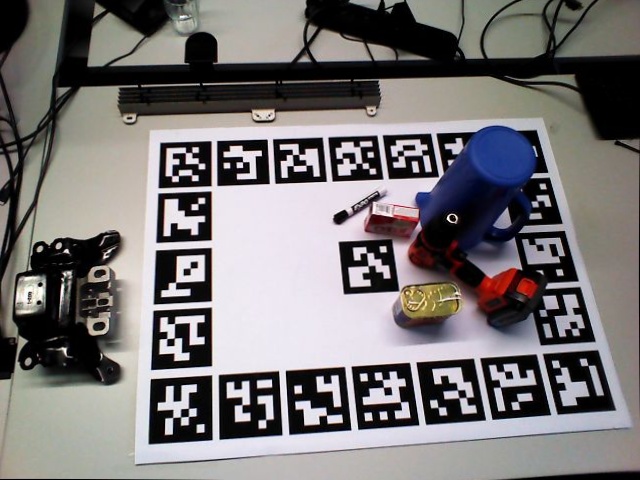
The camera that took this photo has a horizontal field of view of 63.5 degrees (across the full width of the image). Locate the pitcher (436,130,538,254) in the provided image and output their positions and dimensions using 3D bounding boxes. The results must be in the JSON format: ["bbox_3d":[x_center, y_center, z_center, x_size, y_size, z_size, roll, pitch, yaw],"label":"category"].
[{"bbox_3d":[0.296,-0.072,0.877,0.189,0.243,0.132,26,73,13],"label":"pitcher"}]

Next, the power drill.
[{"bbox_3d":[0.253,0.034,0.858,0.187,0.185,0.057,32,73,2],"label":"power drill"}]

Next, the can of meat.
[{"bbox_3d":[0.186,0.113,0.873,0.102,0.084,0.057,-3,67,-5],"label":"can of meat"}]

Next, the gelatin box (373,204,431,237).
[{"bbox_3d":[0.147,-0.034,0.937,0.089,0.073,0.030,8,72,-2],"label":"gelatin box"}]

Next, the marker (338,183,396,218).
[{"bbox_3d":[0.088,-0.074,0.974,0.121,0.020,0.019,-28,74,-12],"label":"marker"}]
